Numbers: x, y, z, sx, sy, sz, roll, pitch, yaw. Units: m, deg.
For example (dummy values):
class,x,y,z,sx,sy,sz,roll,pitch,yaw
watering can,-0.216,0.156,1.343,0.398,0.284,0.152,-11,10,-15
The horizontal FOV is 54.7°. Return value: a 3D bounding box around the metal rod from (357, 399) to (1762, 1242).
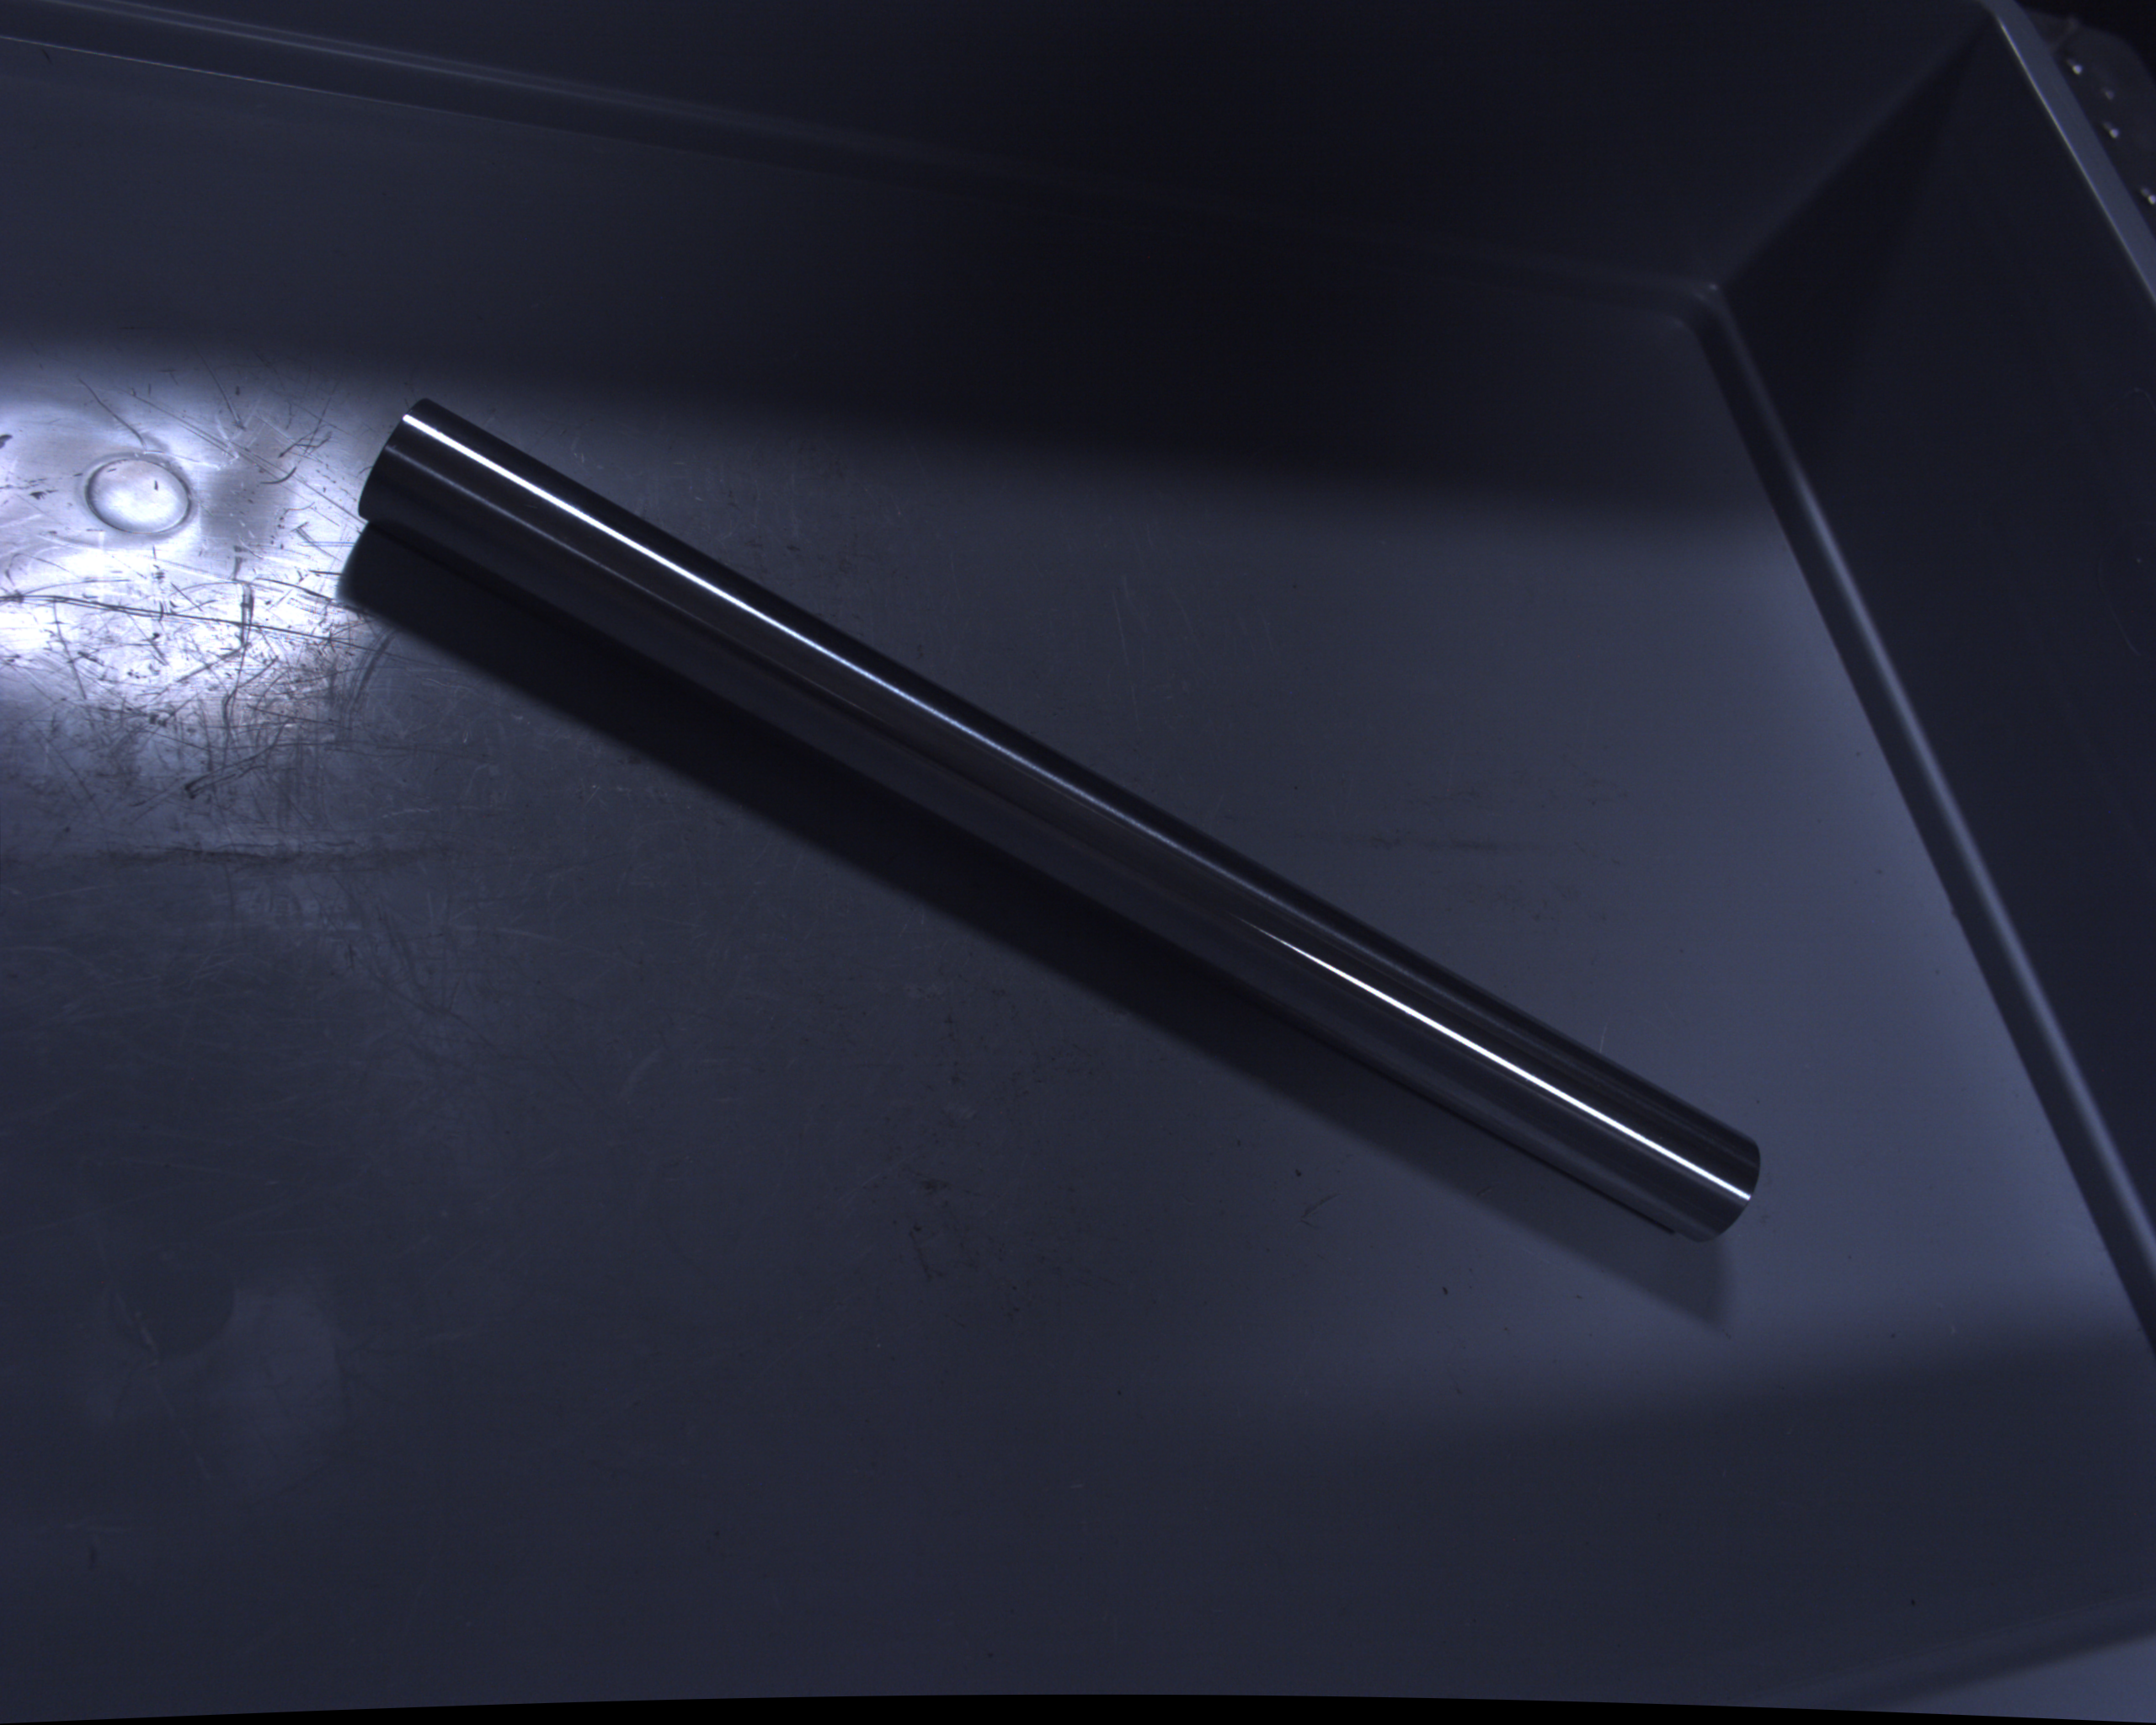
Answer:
class,x,y,z,sx,sy,sz,roll,pitch,yaw
metal rod,0.005,-0.003,0.409,0.301,0.025,0.025,29,52,-11
